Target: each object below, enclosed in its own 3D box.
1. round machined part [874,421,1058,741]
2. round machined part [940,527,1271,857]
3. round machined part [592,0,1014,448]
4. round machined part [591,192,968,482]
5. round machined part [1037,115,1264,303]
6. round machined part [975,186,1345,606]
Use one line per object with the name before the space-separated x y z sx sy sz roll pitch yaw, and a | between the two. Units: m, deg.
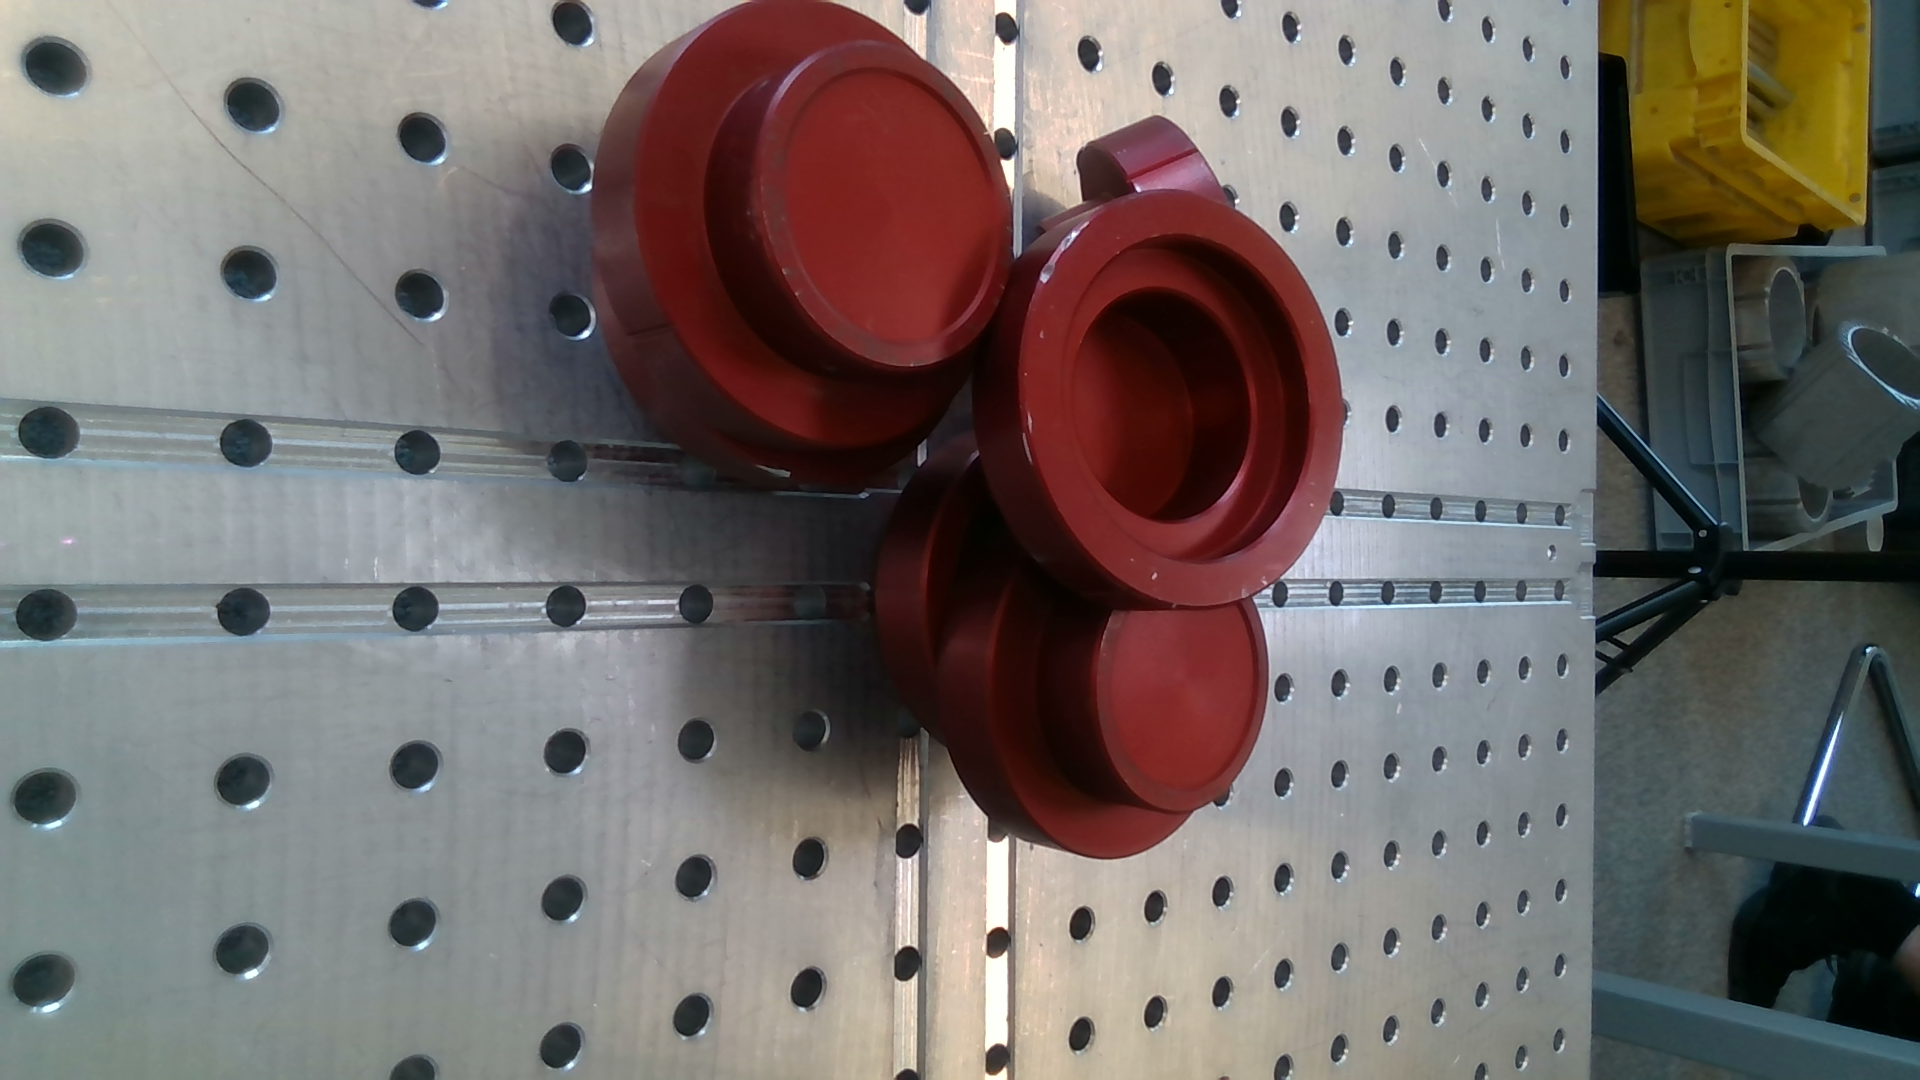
round machined part | 0.027 0.013 0.379 0.098 0.042 0.098 0 90 -40
round machined part | 0.045 0.035 0.365 0.098 0.042 0.098 0 90 -41
round machined part | -0.027 -0.070 0.304 0.098 0.042 0.098 0 90 -40
round machined part | -0.033 -0.063 0.327 0.098 0.042 0.098 0 90 -40
round machined part | 0.054 -0.070 0.403 0.042 0.098 0.098 -22 107 -2
round machined part | 0.044 -0.032 0.336 0.098 0.042 0.098 2 86 -32
